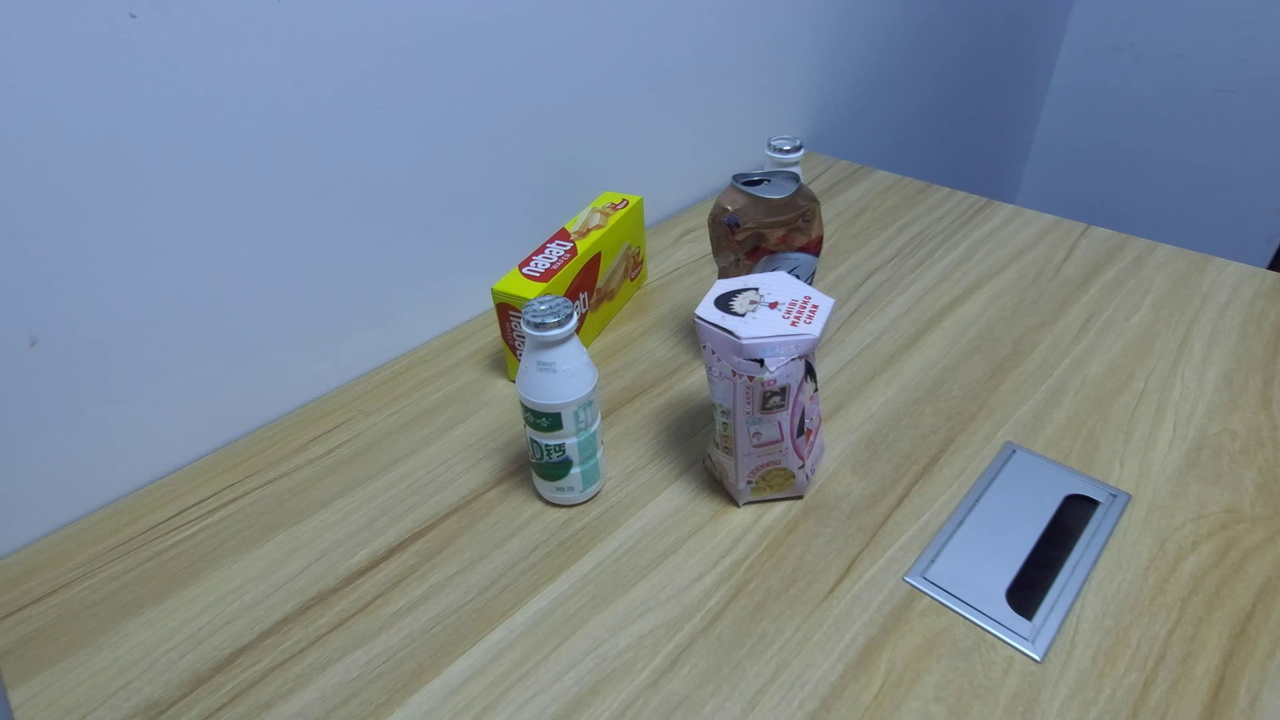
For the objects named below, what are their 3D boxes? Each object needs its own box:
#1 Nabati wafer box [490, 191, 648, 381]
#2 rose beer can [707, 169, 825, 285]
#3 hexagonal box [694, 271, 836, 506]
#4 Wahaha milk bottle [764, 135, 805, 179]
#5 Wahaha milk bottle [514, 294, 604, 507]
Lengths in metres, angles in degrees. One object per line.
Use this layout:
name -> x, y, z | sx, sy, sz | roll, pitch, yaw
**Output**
Nabati wafer box -> -0.052, -0.069, 0.640 | 0.042, 0.093, 0.203 | 13, 39, 22
rose beer can -> 0.098, -0.068, 0.566 | 0.067, 0.162, 0.074 | 27, 44, 35
hexagonal box -> 0.080, 0.021, 0.474 | 0.091, 0.135, 0.089 | -18, 36, -17
Wahaha milk bottle -> 0.130, -0.144, 0.670 | 0.056, 0.148, 0.056 | -1, 51, 1
Wahaha milk bottle -> -0.052, 0.029, 0.462 | 0.053, 0.147, 0.053 | -3, 36, 2
